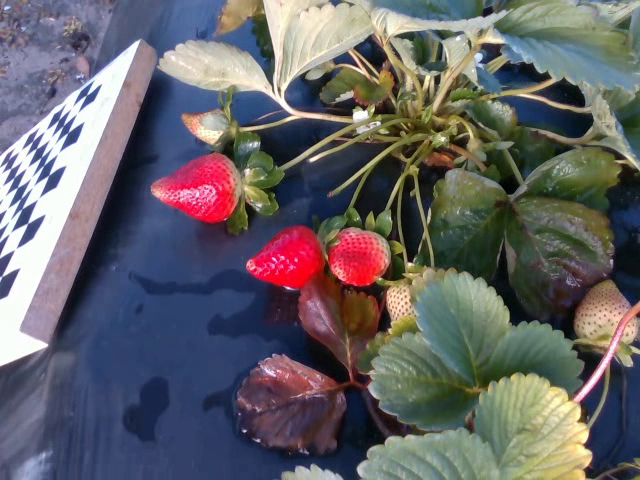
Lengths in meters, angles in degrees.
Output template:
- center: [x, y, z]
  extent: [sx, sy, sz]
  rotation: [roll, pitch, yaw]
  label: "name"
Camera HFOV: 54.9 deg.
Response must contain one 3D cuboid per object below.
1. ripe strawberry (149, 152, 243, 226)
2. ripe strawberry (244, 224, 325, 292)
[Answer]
- center: [-0.083, -0.038, 0.403]
  extent: [0.065, 0.050, 0.050]
  rotation: [0, 23, -26]
  label: "ripe strawberry"
- center: [-0.024, 0.012, 0.364]
  extent: [0.055, 0.042, 0.044]
  rotation: [-10, 10, -39]
  label: "ripe strawberry"
